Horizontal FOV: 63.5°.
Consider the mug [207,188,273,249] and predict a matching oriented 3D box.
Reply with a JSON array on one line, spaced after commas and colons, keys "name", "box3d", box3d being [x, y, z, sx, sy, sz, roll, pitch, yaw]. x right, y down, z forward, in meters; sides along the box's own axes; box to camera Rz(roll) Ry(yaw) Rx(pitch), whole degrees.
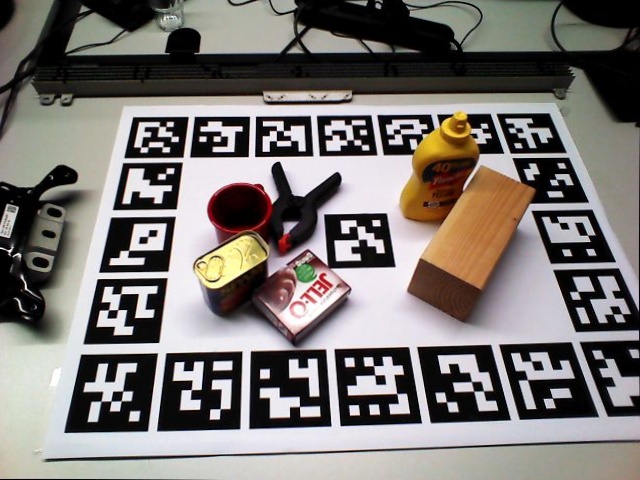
[{"name": "mug", "box3d": [-0.111, -0.026, 0.779, 0.093, 0.082, 0.116, 17, 59, 9]}]

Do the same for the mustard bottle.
[{"name": "mustard bottle", "box3d": [0.185, -0.111, 0.749, 0.096, 0.192, 0.058, -6, 57, -5]}]

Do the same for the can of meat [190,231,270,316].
[{"name": "can of meat", "box3d": [-0.116, 0.047, 0.695, 0.101, 0.084, 0.058, -28, 62, -19]}]

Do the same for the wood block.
[{"name": "wood block", "box3d": [0.230, 0.004, 0.740, 0.090, 0.091, 0.205, 29, 58, 19]}]

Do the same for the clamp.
[{"name": "clamp", "box3d": [-0.031, -0.058, 0.808, 0.122, 0.037, 0.164, 15, 59, 7]}]

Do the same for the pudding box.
[{"name": "pudding box", "box3d": [-0.018, 0.078, 0.710, 0.113, 0.039, 0.090, -37, 65, -25]}]
